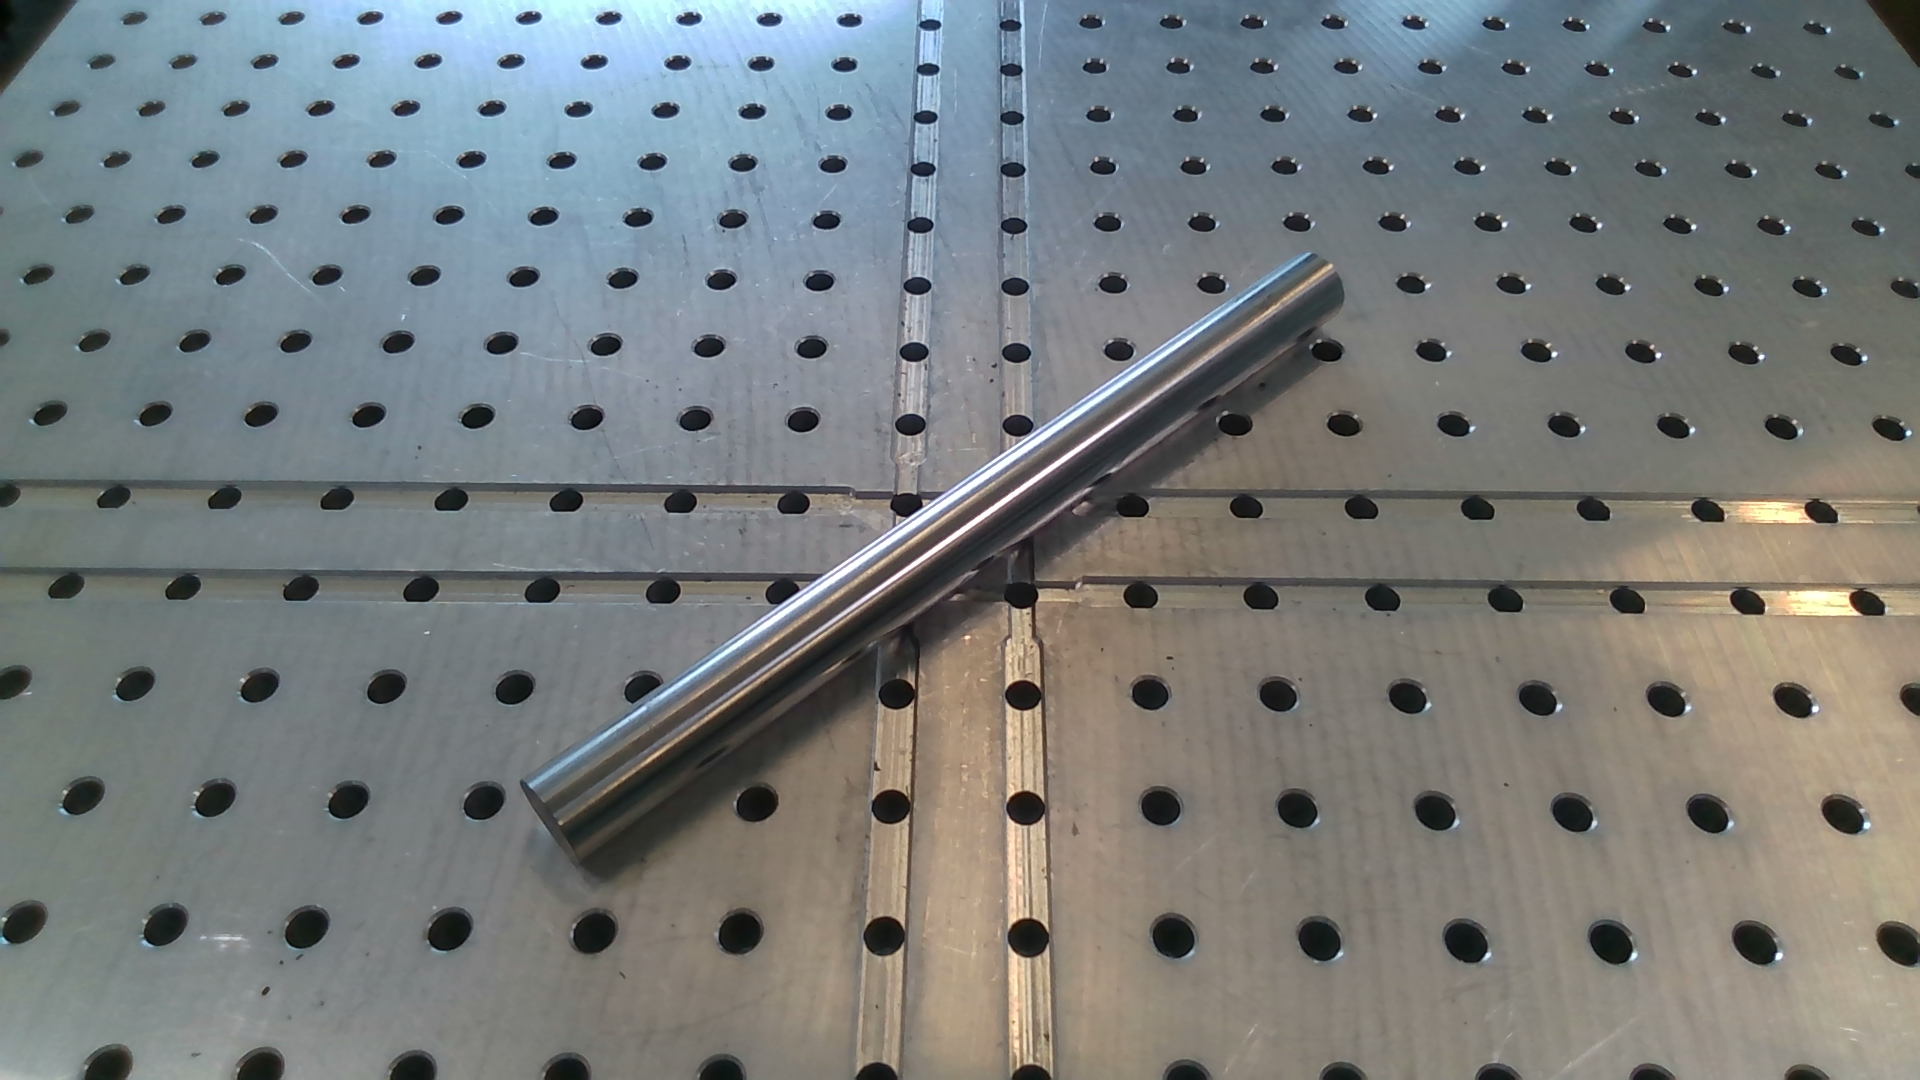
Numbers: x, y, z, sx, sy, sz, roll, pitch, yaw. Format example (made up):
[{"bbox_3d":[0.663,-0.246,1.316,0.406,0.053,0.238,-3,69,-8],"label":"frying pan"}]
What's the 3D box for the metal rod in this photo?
[{"bbox_3d":[0.010,-0.009,0.405,0.300,0.025,0.025,-35,58,-26],"label":"metal rod"}]
